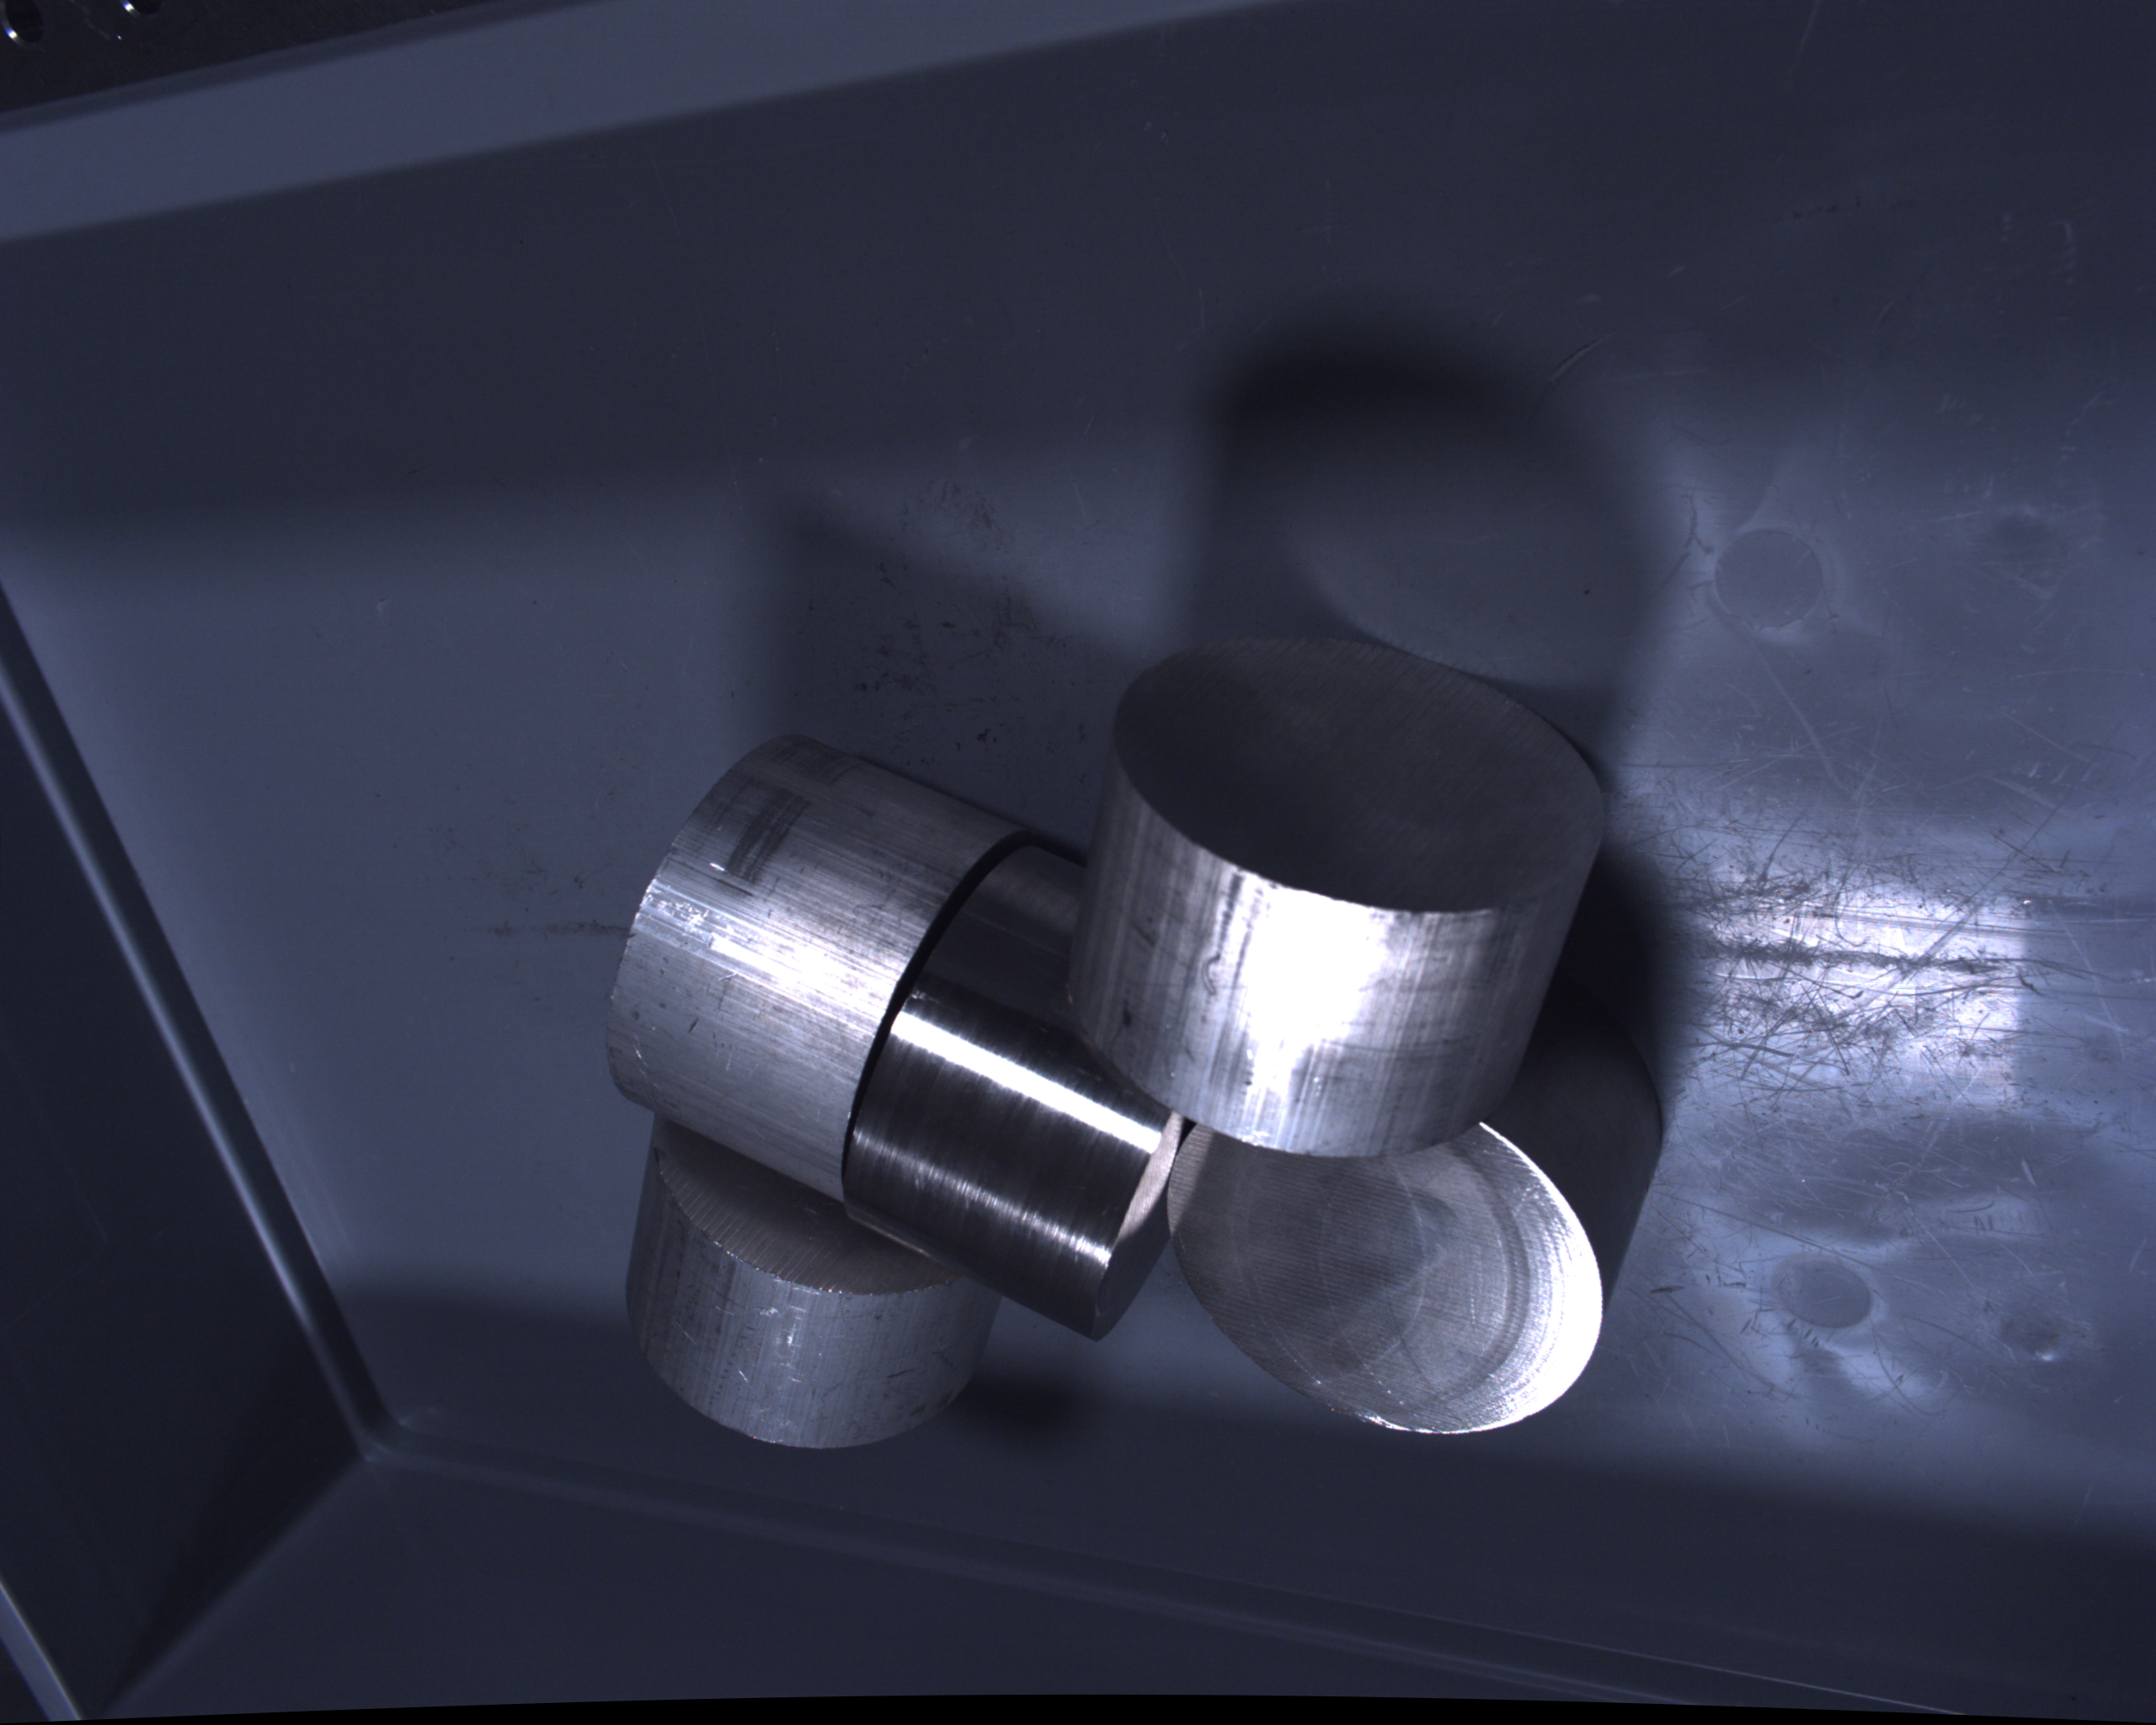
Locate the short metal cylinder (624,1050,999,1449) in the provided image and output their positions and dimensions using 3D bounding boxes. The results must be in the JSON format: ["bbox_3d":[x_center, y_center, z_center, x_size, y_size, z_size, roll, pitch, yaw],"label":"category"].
[{"bbox_3d":[-0.054,0.076,0.445,0.080,0.080,0.050,26,127,11],"label":"short metal cylinder"}]

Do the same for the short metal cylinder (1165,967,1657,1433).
[{"bbox_3d":[0.063,0.059,0.392,0.080,0.050,0.079,13,124,20],"label":"short metal cylinder"}]

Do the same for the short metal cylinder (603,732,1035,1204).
[{"bbox_3d":[-0.048,0.021,0.407,0.050,0.080,0.079,23,127,14],"label":"short metal cylinder"}]

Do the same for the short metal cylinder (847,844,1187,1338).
[{"bbox_3d":[-0.001,0.043,0.398,0.050,0.080,0.079,24,127,13],"label":"short metal cylinder"}]

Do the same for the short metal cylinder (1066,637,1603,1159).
[{"bbox_3d":[0.041,0.004,0.351,0.080,0.080,0.050,21,126,15],"label":"short metal cylinder"}]
